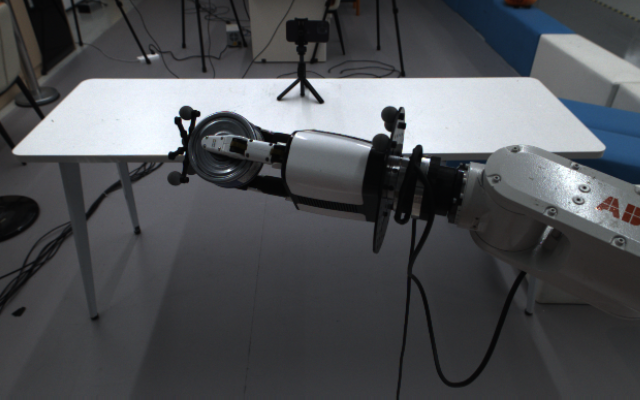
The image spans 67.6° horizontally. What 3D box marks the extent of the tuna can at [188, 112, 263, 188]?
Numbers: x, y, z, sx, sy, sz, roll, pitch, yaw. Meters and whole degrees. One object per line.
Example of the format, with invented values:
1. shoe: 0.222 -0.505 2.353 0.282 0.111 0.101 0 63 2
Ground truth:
1. tuna can: -0.106 -0.059 0.564 0.085 0.085 0.034 10 -6 11
